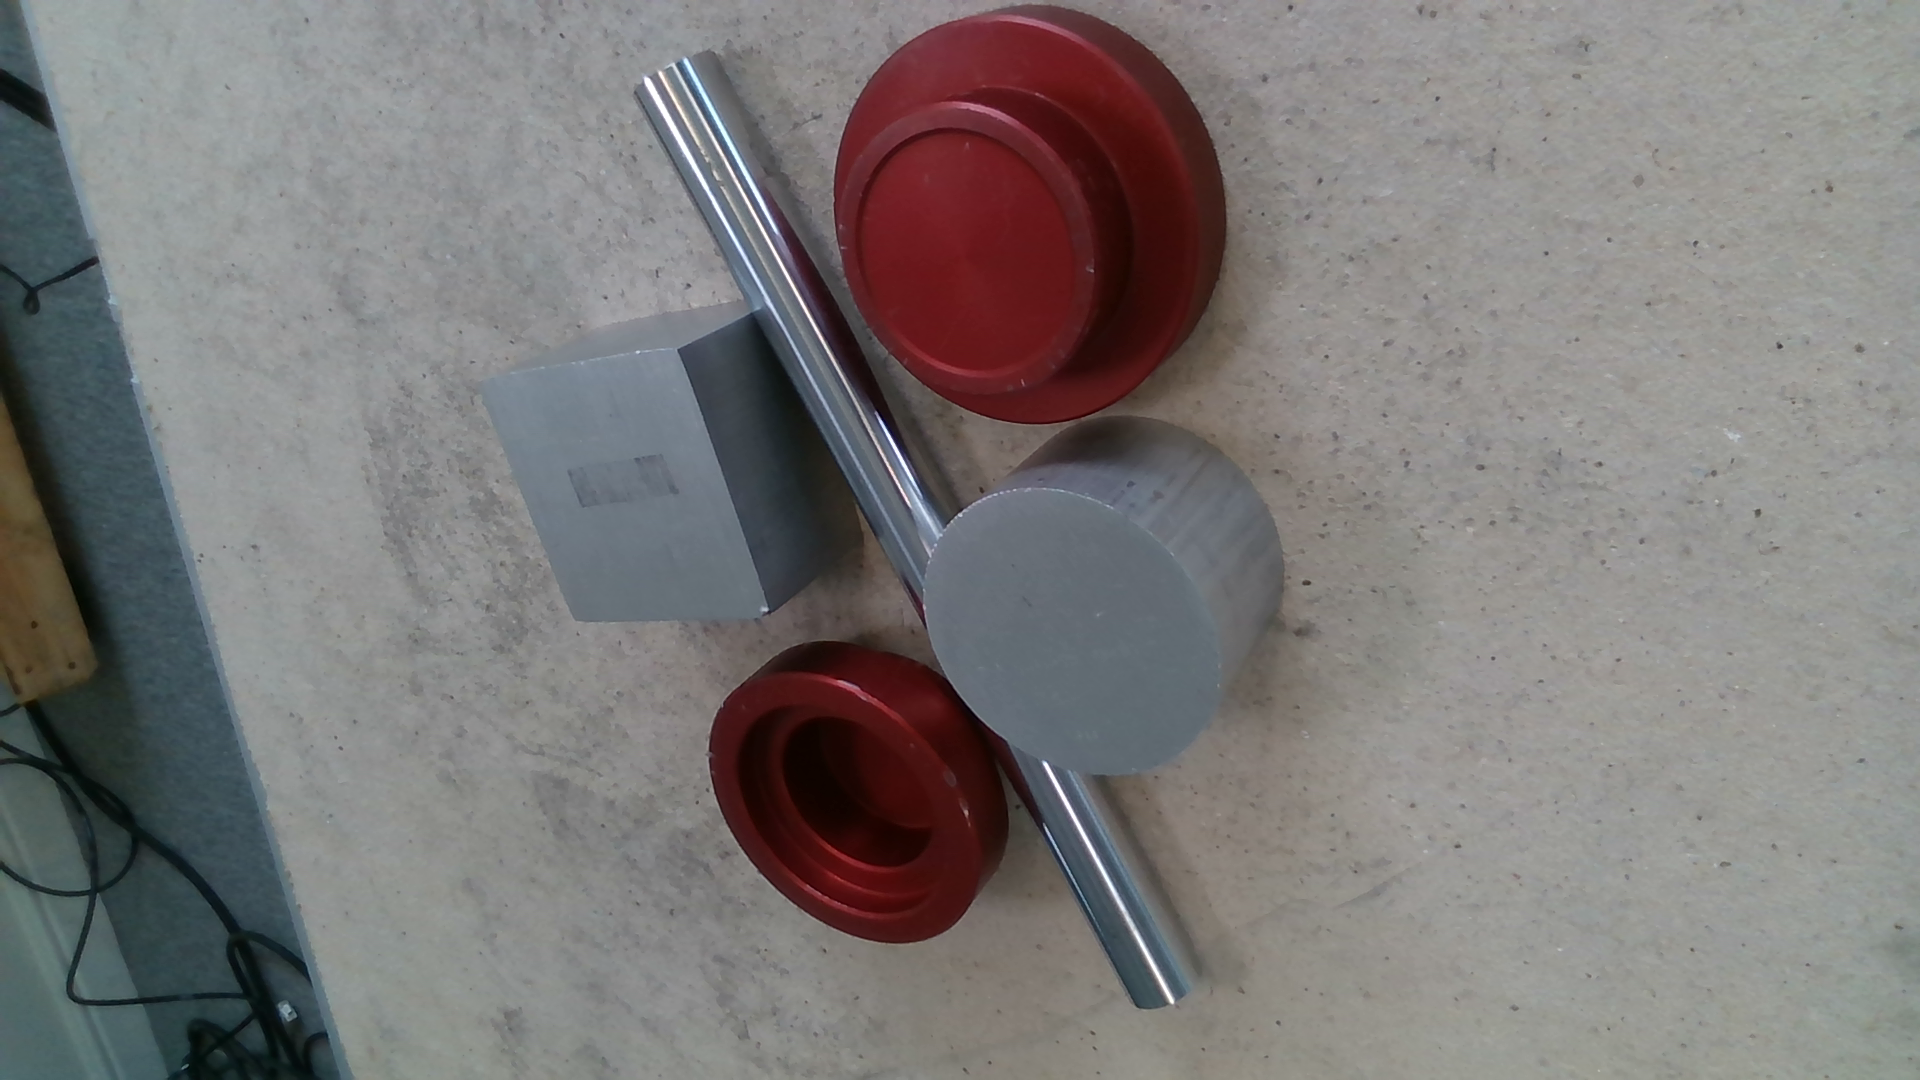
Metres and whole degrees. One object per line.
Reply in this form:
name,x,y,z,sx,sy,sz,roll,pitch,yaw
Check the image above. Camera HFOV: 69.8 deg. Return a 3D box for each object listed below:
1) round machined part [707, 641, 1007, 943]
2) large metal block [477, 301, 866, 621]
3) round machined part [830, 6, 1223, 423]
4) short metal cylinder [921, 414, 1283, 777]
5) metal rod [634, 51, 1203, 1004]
round machined part,-0.028,0.075,0.436,0.098,0.042,0.098,15,122,25
large metal block,-0.085,-0.023,0.413,0.080,0.050,0.080,-3,113,33
round machined part,0.009,-0.074,0.331,0.098,0.042,0.098,15,122,25
short metal cylinder,0.037,0.014,0.357,0.080,0.050,0.080,15,122,25
metal rod,-0.006,0.005,0.397,0.025,0.025,0.300,-20,104,37
